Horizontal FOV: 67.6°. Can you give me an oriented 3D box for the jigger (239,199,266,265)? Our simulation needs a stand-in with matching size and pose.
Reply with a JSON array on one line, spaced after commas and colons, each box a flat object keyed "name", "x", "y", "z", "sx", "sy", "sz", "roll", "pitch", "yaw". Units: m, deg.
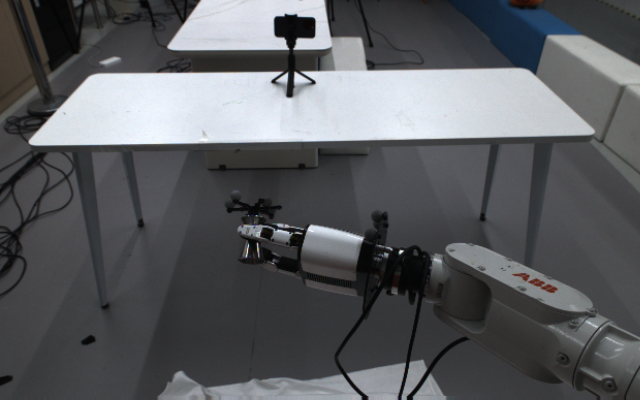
[{"name": "jigger", "x": -0.104, "y": 0.060, "z": 0.745, "sx": 0.043, "sy": 0.043, "sz": 0.071, "roll": 1, "pitch": 71, "yaw": -2}]
